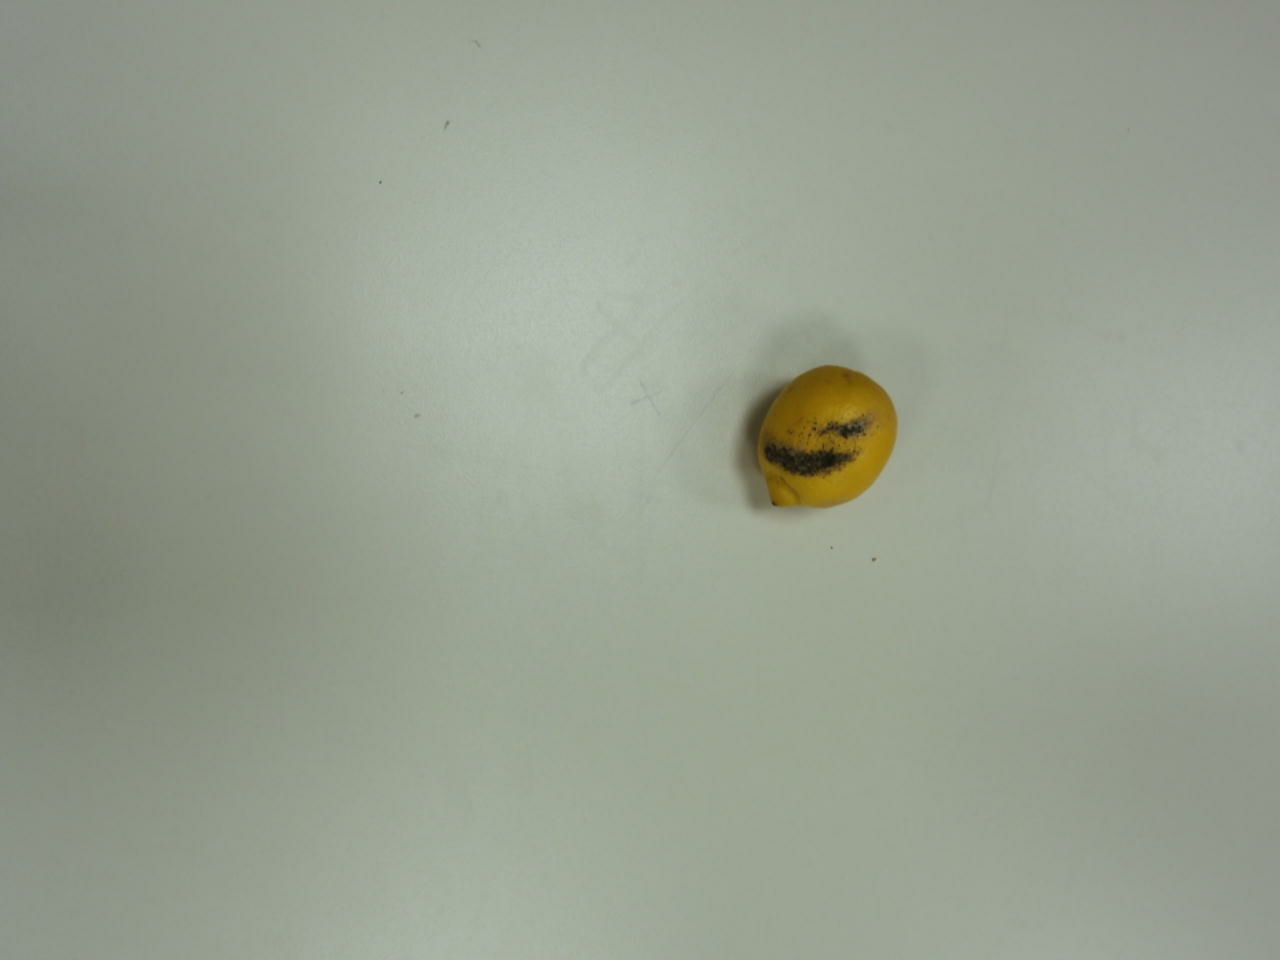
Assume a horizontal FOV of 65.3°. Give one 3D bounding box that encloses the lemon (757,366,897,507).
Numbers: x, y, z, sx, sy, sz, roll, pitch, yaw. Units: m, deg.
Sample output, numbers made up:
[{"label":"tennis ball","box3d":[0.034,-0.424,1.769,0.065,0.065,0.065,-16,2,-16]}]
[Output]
[{"label":"lemon","box3d":[0.081,-0.018,0.431,0.058,0.056,0.061,2,90,-12]}]
